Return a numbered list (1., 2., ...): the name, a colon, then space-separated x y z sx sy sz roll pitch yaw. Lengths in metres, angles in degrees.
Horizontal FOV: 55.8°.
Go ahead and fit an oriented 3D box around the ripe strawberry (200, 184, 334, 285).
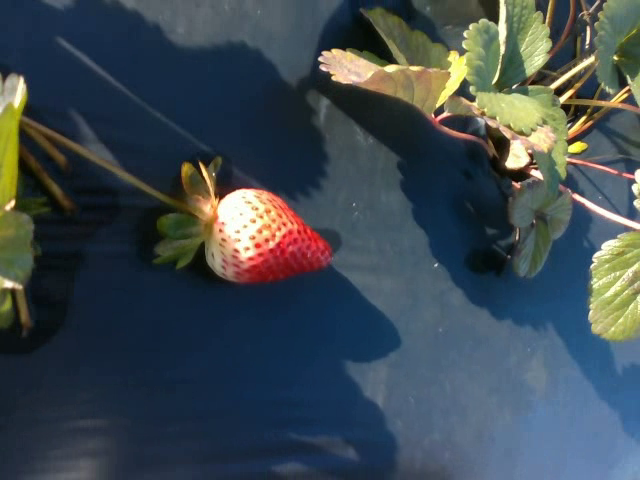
1. ripe strawberry: -0.016 0.000 0.223 0.064 0.043 0.045 13 -44 -22
